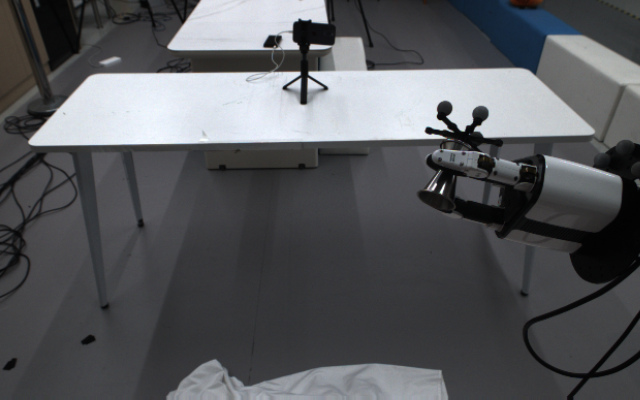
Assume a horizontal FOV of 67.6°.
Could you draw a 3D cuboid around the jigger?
[{"bbox_3d":[0.140,-0.031,0.535,0.043,0.043,0.071,19,72,23],"label":"jigger"}]
